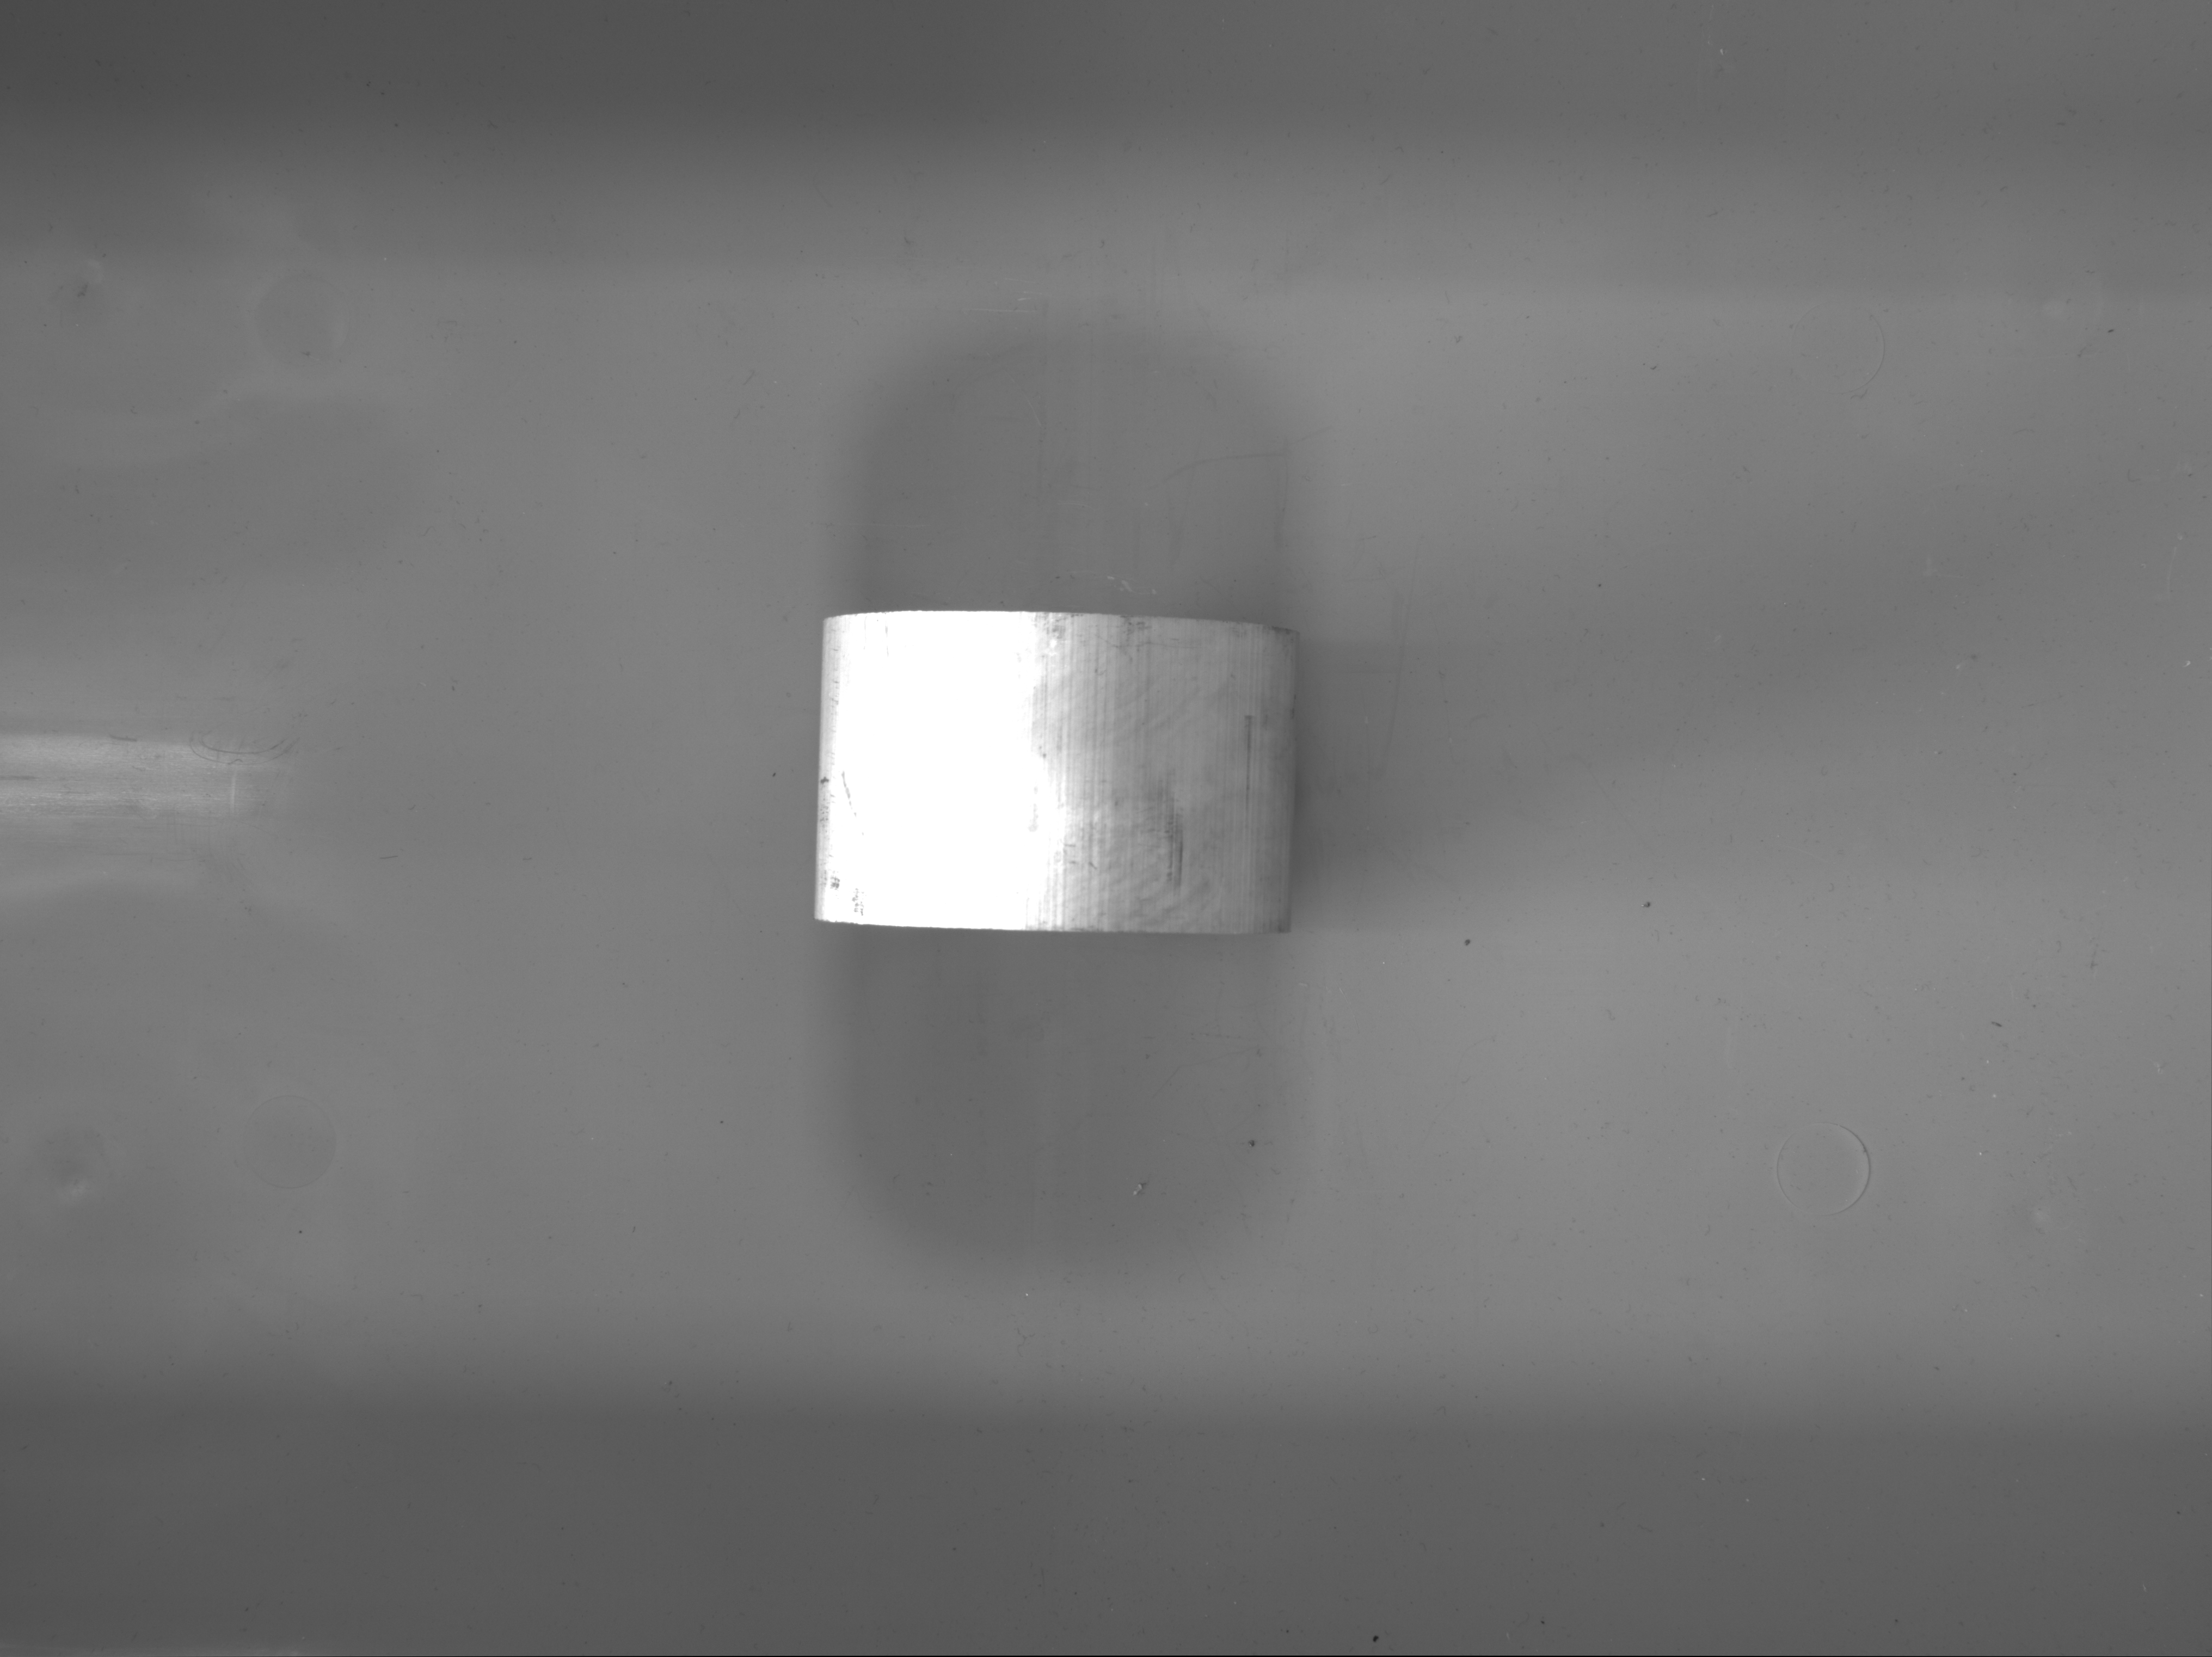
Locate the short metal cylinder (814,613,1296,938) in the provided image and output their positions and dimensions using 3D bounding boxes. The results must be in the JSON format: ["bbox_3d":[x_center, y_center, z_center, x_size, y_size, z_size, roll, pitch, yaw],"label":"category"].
[{"bbox_3d":[-0.009,-0.008,0.616,0.080,0.080,0.050,2,90,0],"label":"short metal cylinder"}]
